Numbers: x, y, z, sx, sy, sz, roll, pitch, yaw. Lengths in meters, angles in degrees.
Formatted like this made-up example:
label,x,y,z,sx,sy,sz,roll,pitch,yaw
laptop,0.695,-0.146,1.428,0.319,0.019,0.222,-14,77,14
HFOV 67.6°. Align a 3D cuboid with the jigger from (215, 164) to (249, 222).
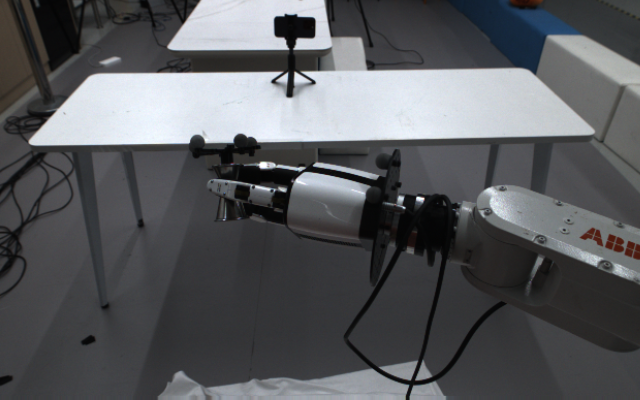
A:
label,x,y,z,sx,sy,sz,roll,pitch,yaw
jigger,-0.111,-0.009,0.595,0.043,0.071,0.043,-4,1,0
